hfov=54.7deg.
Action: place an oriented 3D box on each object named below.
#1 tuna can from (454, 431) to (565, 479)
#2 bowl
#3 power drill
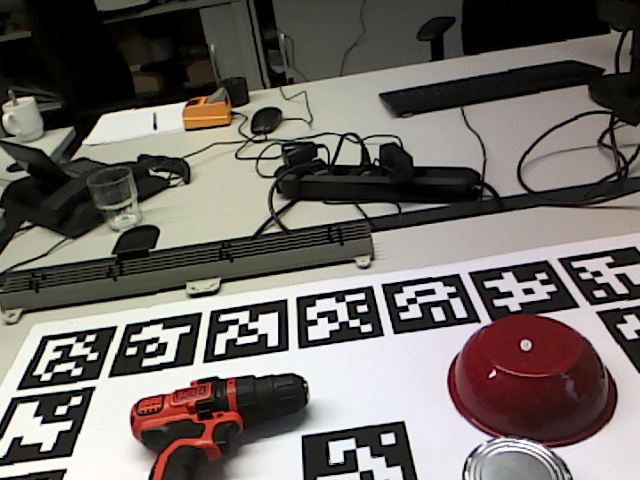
[{"bbox_3d":[0.154,0.202,0.508,0.086,0.033,0.086,-5,31,3],"label":"tuna can"},{"bbox_3d":[0.195,0.129,0.618,0.162,0.055,0.162,-11,24,4],"label":"bowl"},{"bbox_3d":[-0.107,0.209,0.555,0.184,0.057,0.187,-6,28,-2],"label":"power drill"}]
